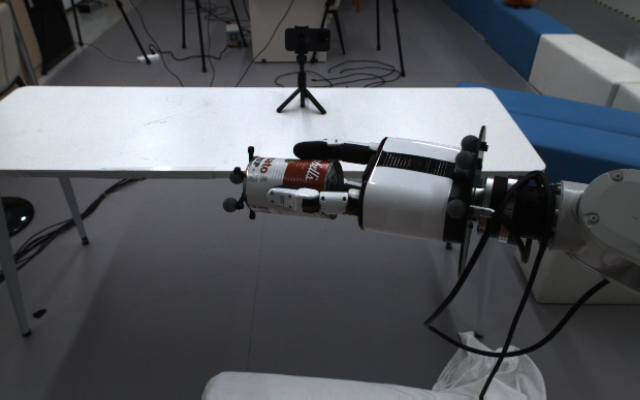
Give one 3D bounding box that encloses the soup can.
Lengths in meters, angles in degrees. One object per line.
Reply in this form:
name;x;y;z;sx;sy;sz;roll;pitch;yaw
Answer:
soup can;-0.027;-0.015;0.568;0.101;0.067;0.067;5;34;18
